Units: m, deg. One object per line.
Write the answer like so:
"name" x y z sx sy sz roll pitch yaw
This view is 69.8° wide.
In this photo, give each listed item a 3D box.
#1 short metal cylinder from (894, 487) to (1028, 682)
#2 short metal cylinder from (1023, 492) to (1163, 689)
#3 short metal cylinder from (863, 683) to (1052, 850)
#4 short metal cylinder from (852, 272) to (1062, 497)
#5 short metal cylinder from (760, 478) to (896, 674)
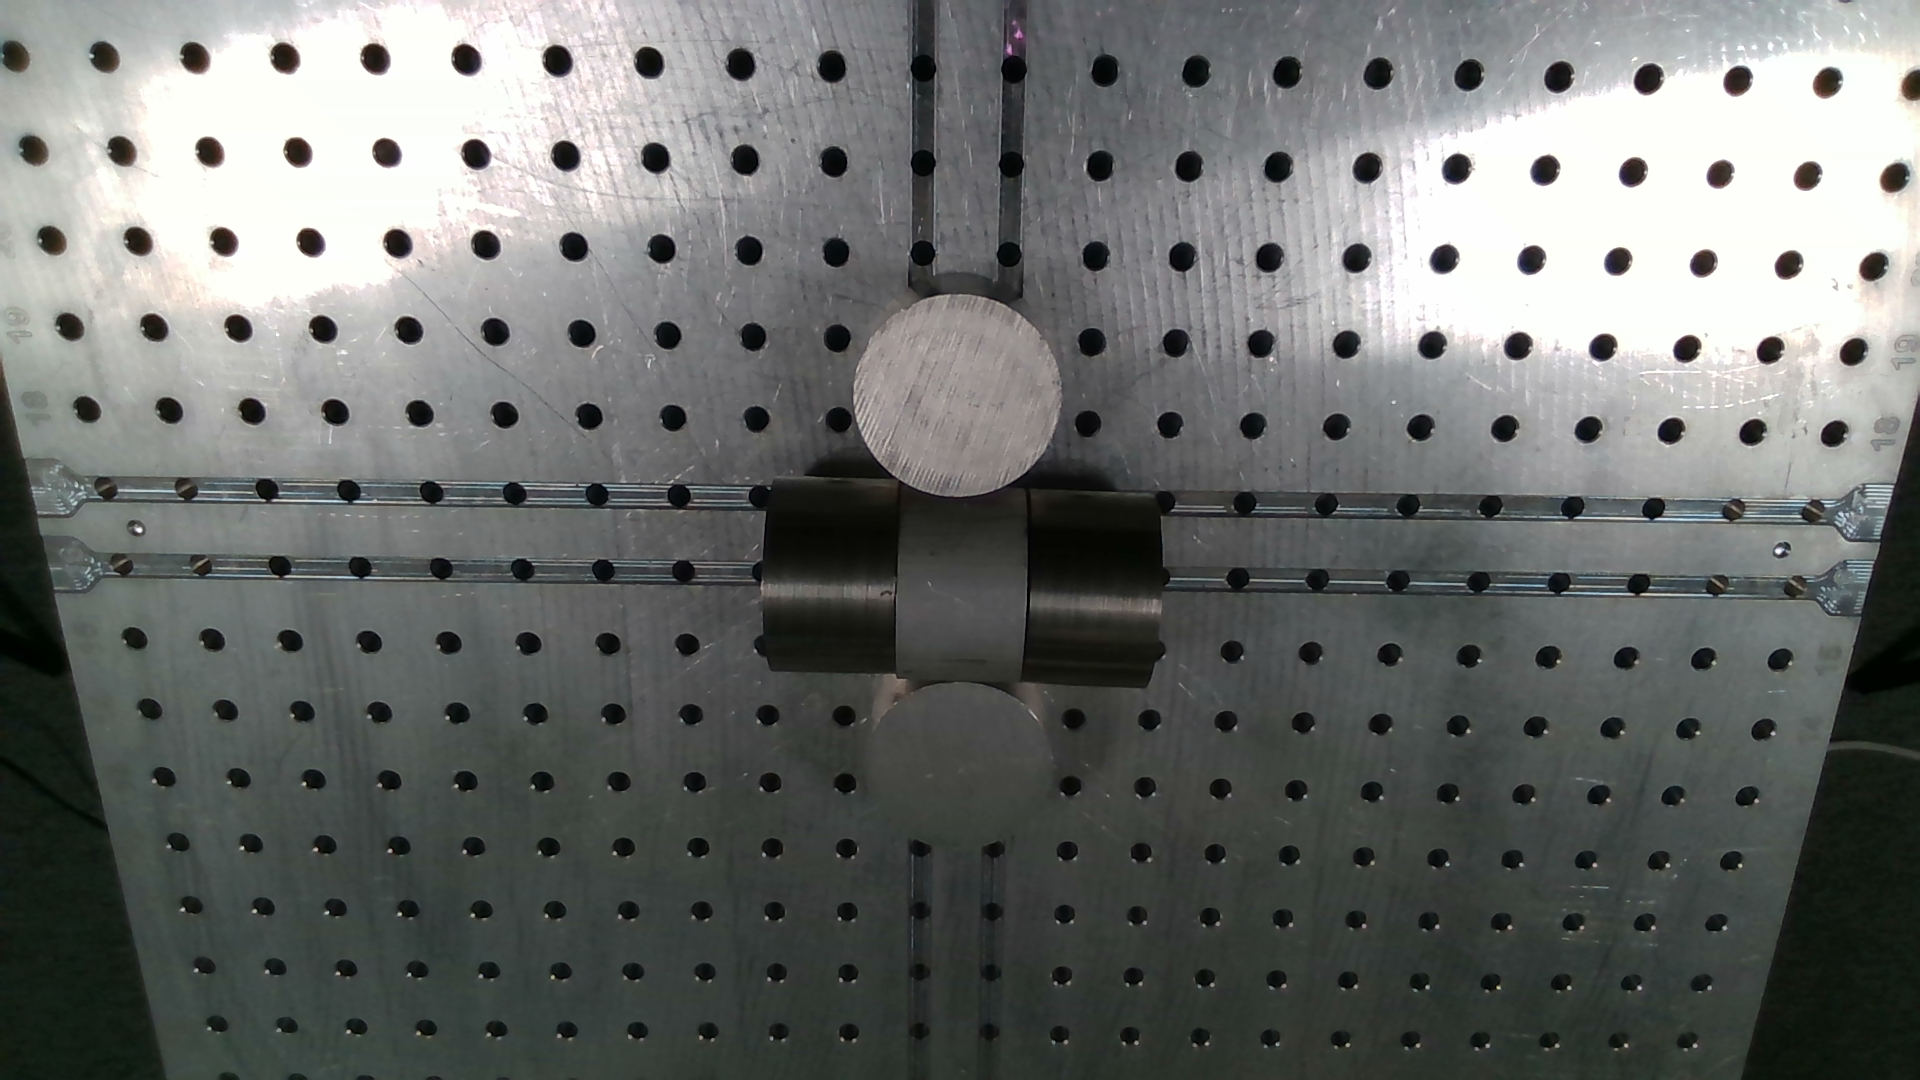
"short metal cylinder" 0.000 0.018 0.564 0.050 0.080 0.080 2 110 -1
"short metal cylinder" 0.052 0.020 0.564 0.050 0.080 0.080 2 110 -1
"short metal cylinder" -0.001 0.088 0.606 0.080 0.050 0.080 0 110 0
"short metal cylinder" -0.001 -0.063 0.550 0.080 0.050 0.080 0 110 0
"short metal cylinder" -0.051 0.014 0.563 0.050 0.080 0.080 1 110 0
